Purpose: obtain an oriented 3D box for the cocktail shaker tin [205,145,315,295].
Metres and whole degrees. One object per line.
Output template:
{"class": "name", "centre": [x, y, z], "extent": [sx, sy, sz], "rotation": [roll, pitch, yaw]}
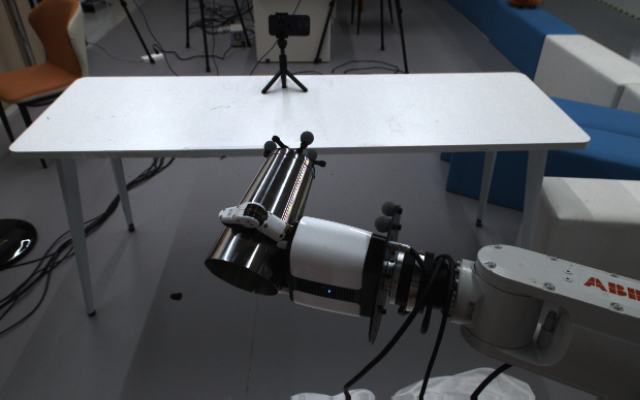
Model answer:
{"class": "cocktail shaker tin", "centre": [-0.066, 0.021, 0.598], "extent": [0.093, 0.093, 0.170], "rotation": [14, 60, 16]}
